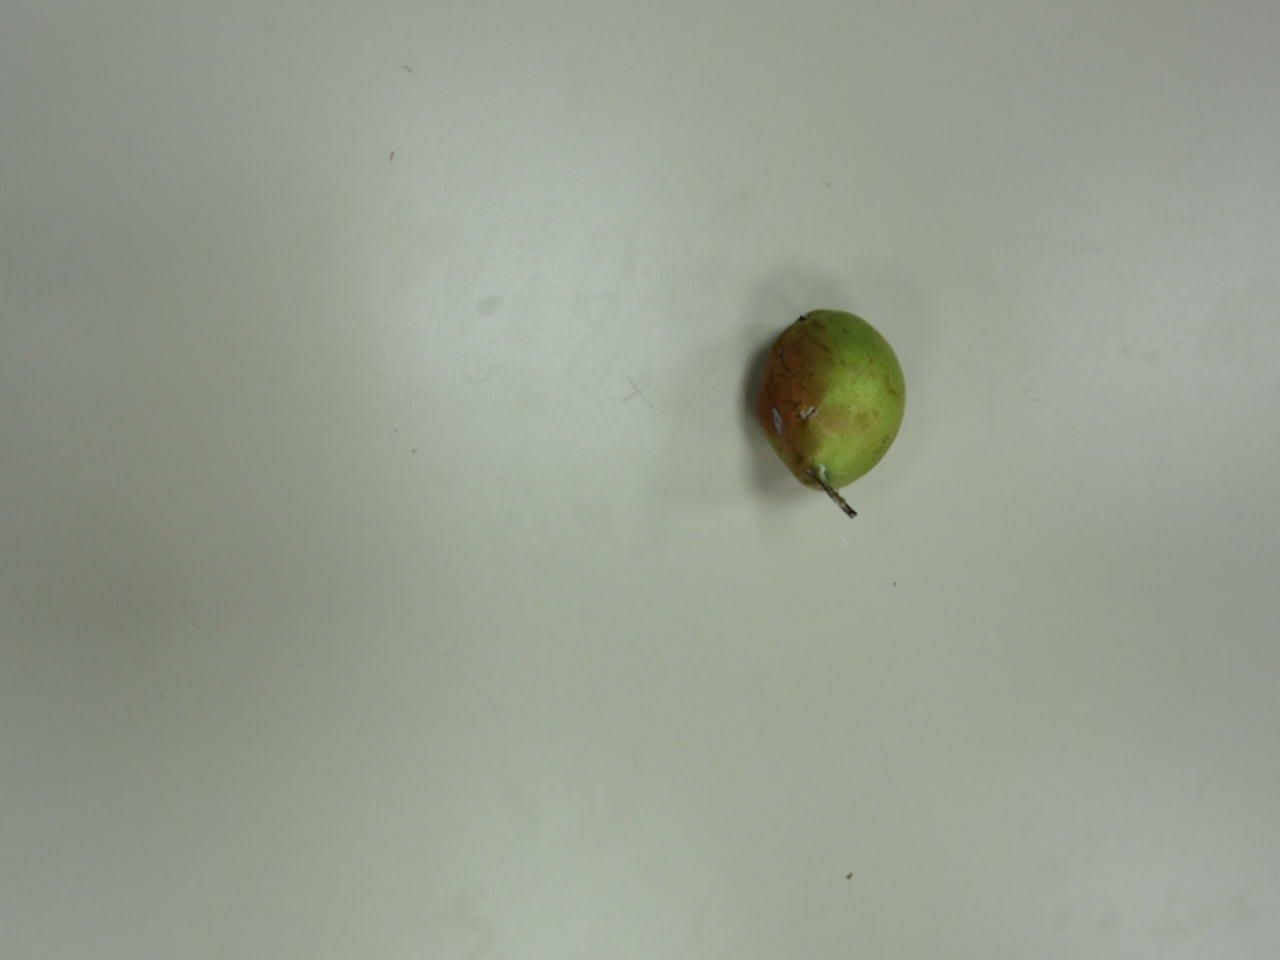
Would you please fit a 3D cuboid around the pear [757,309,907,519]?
[{"bbox_3d":[0.079,-0.034,0.417,0.070,0.069,0.068,-40,98,-9],"label":"pear"}]
